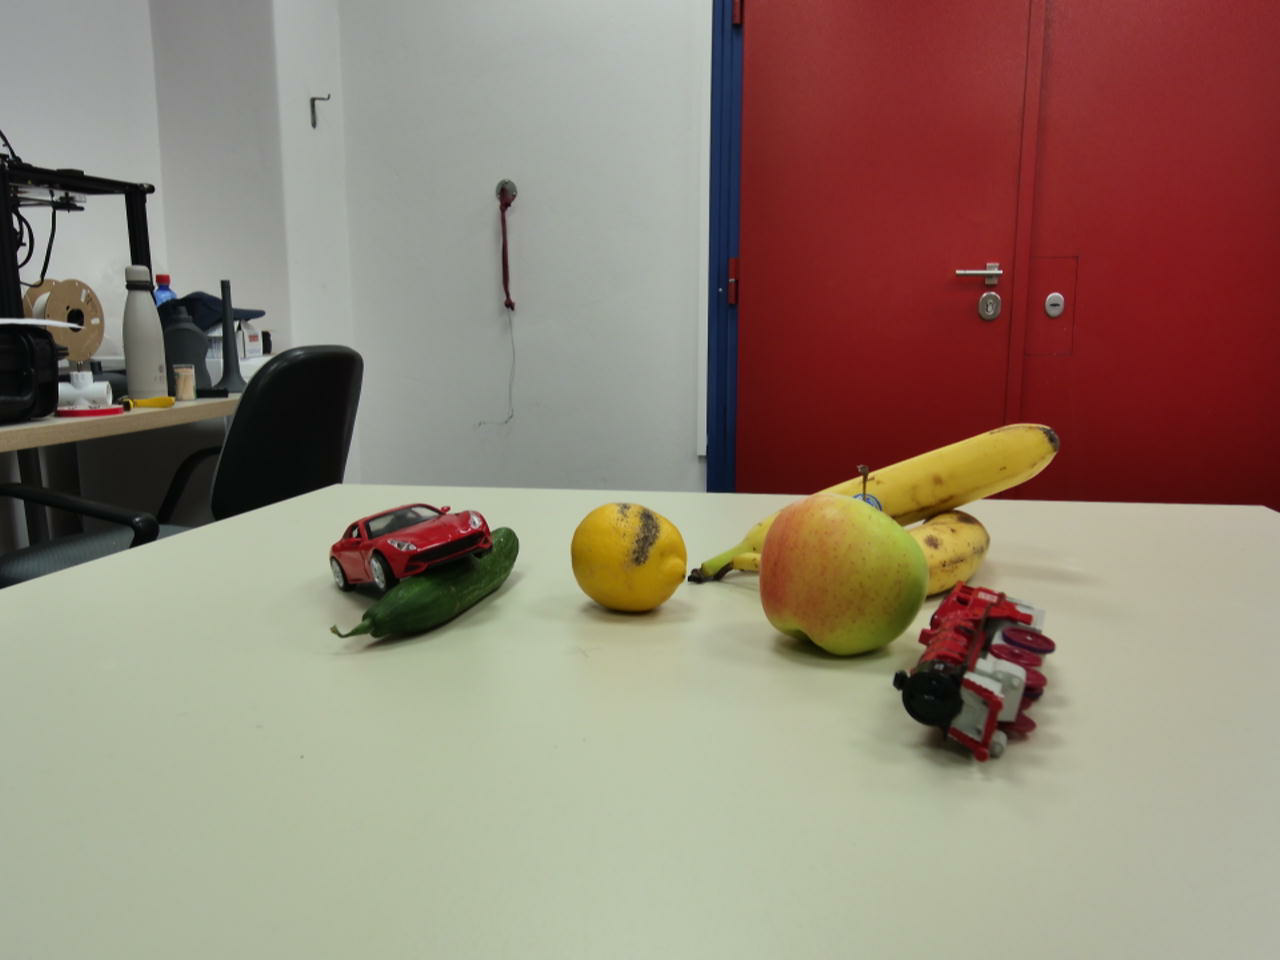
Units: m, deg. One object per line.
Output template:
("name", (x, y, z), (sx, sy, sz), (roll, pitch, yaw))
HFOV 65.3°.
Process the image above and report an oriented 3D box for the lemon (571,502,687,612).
("lemon", (-0.005, 0.040, 0.526), (0.061, 0.056, 0.058), (2, 6, 4))
